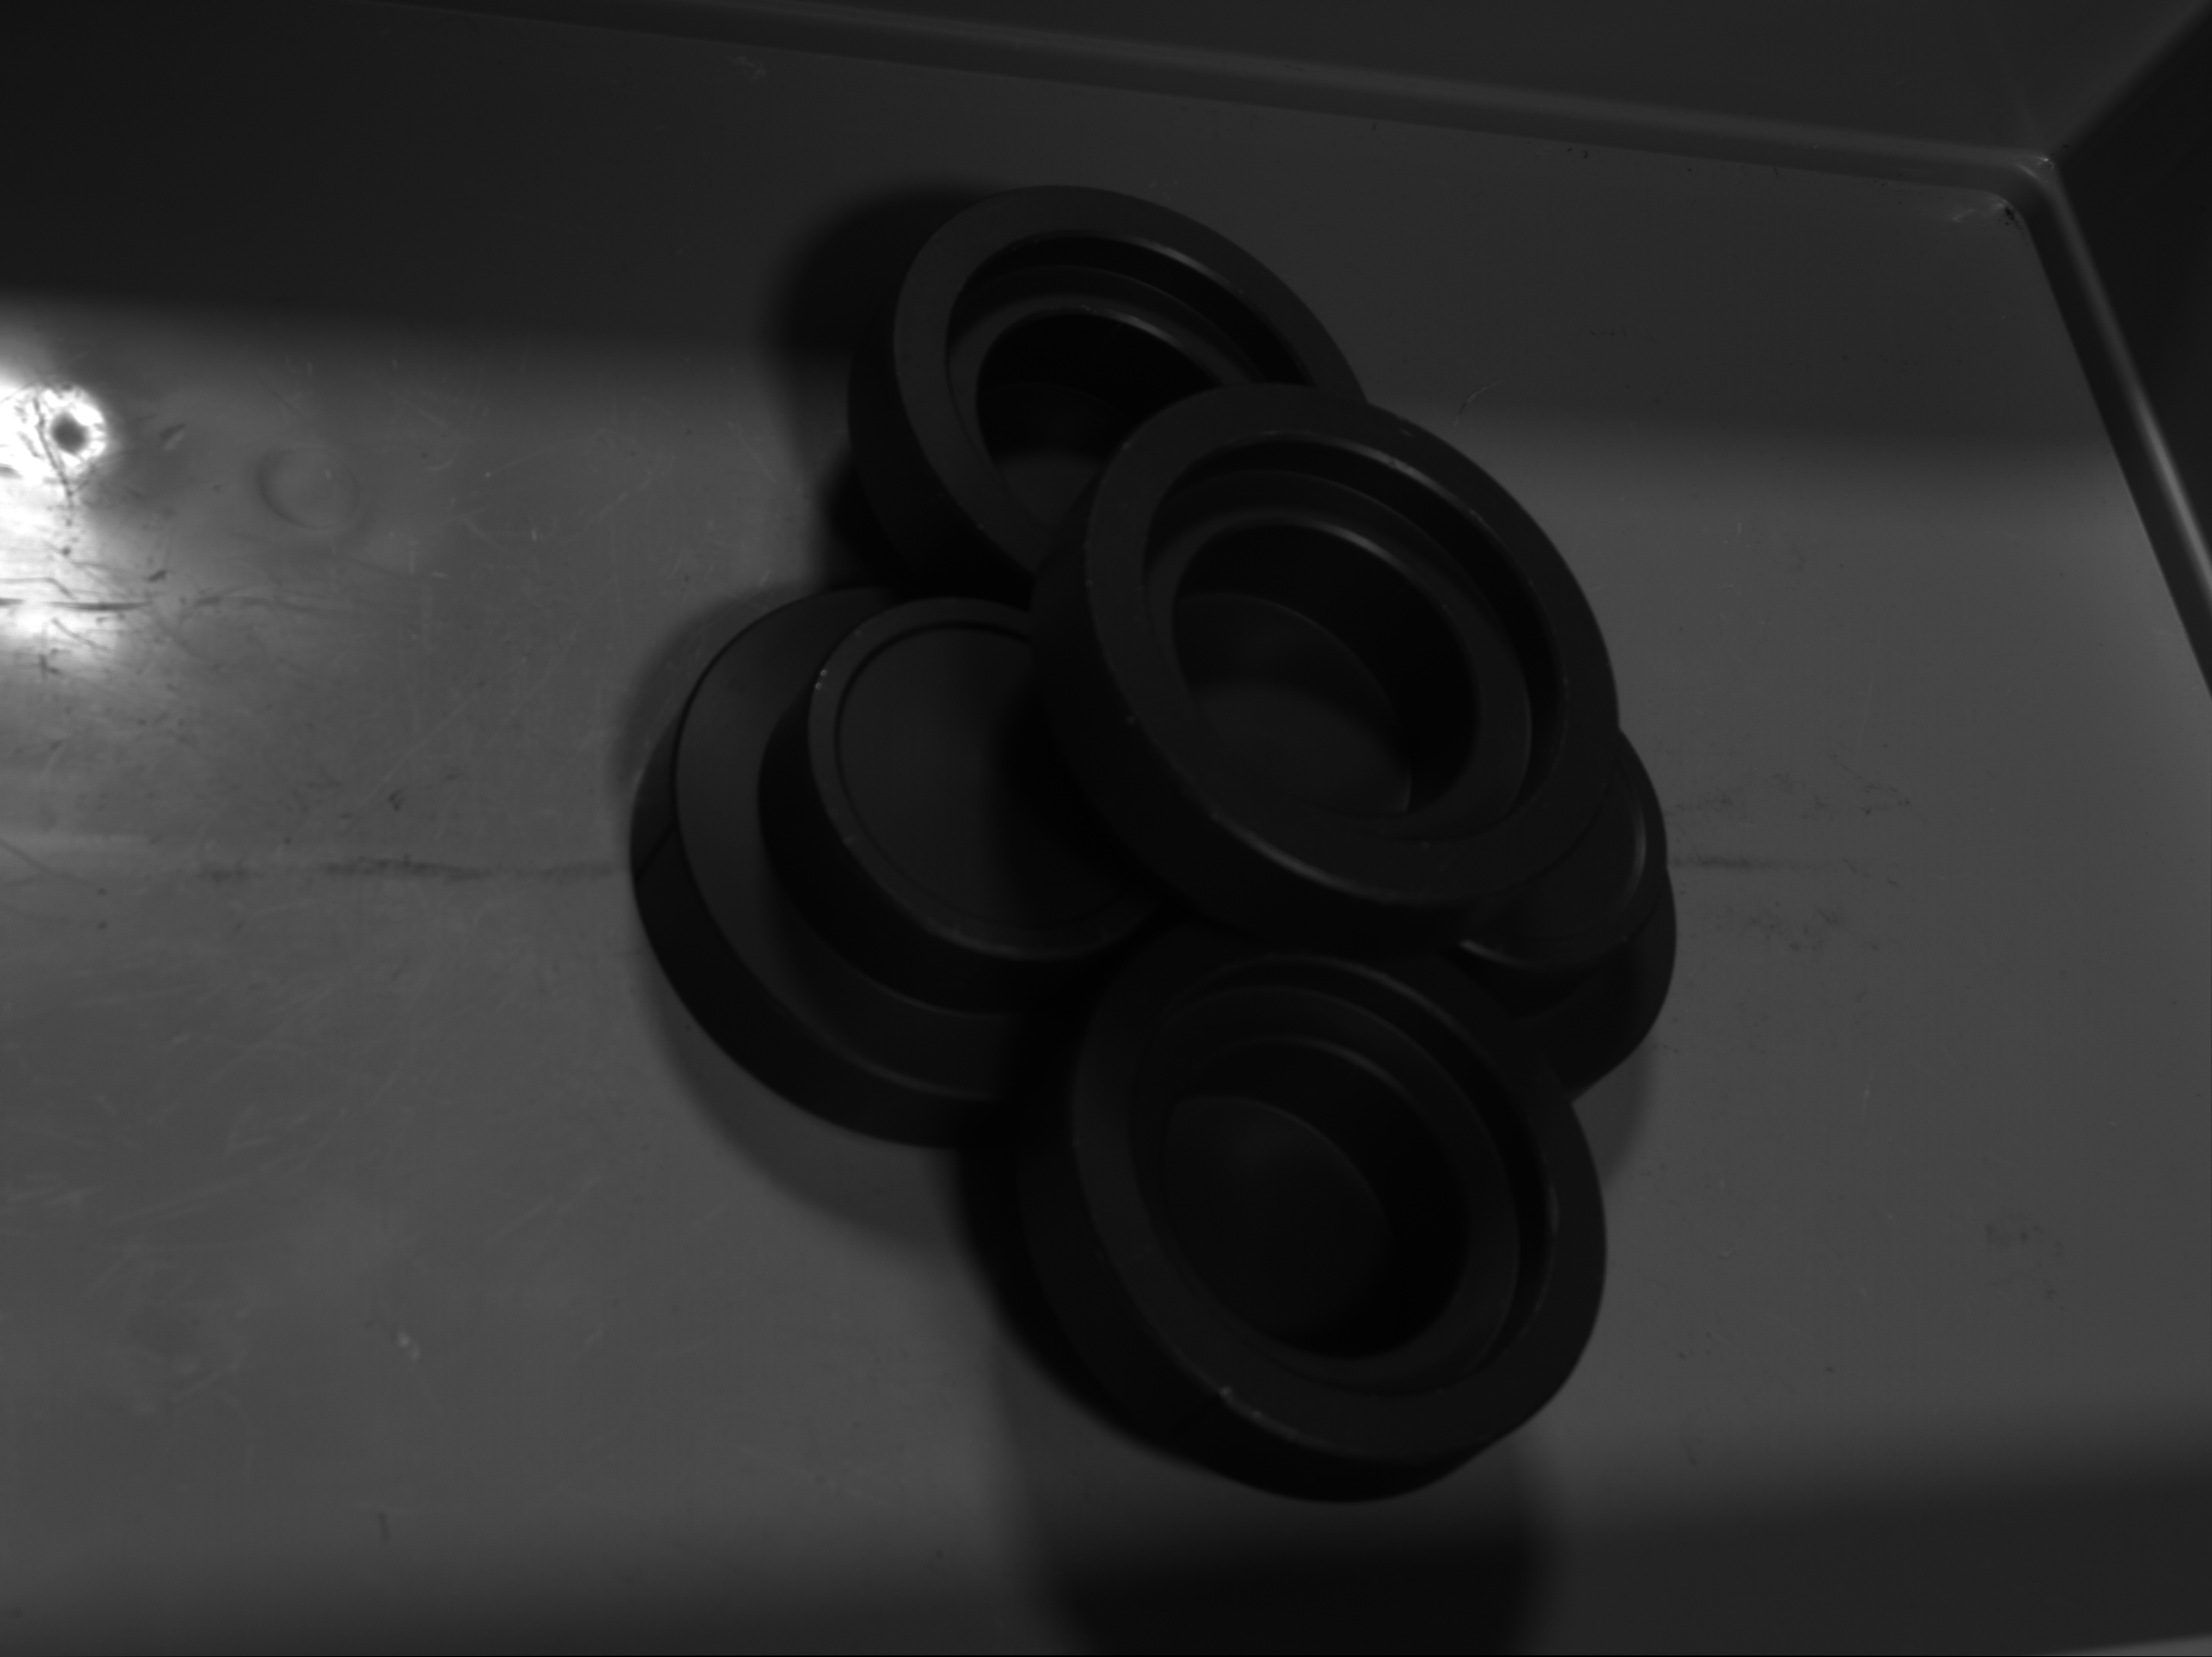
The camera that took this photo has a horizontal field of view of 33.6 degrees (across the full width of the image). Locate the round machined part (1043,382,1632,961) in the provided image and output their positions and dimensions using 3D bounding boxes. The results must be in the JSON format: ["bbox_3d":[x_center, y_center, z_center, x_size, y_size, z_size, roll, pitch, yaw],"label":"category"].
[{"bbox_3d":[0.034,-0.022,0.604,0.098,0.042,0.098,14,56,-21],"label":"round machined part"}]

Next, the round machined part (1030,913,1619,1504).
[{"bbox_3d":[0.032,0.065,0.604,0.098,0.042,0.098,14,56,-21],"label":"round machined part"}]

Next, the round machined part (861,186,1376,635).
[{"bbox_3d":[0.001,-0.065,0.667,0.098,0.042,0.098,14,56,-21],"label":"round machined part"}]

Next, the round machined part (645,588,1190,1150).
[{"bbox_3d":[-0.024,0.001,0.614,0.098,0.042,0.098,14,56,-21],"label":"round machined part"}]

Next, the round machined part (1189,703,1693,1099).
[{"bbox_3d":[0.064,0.004,0.658,0.098,0.042,0.098,14,56,-21],"label":"round machined part"}]
